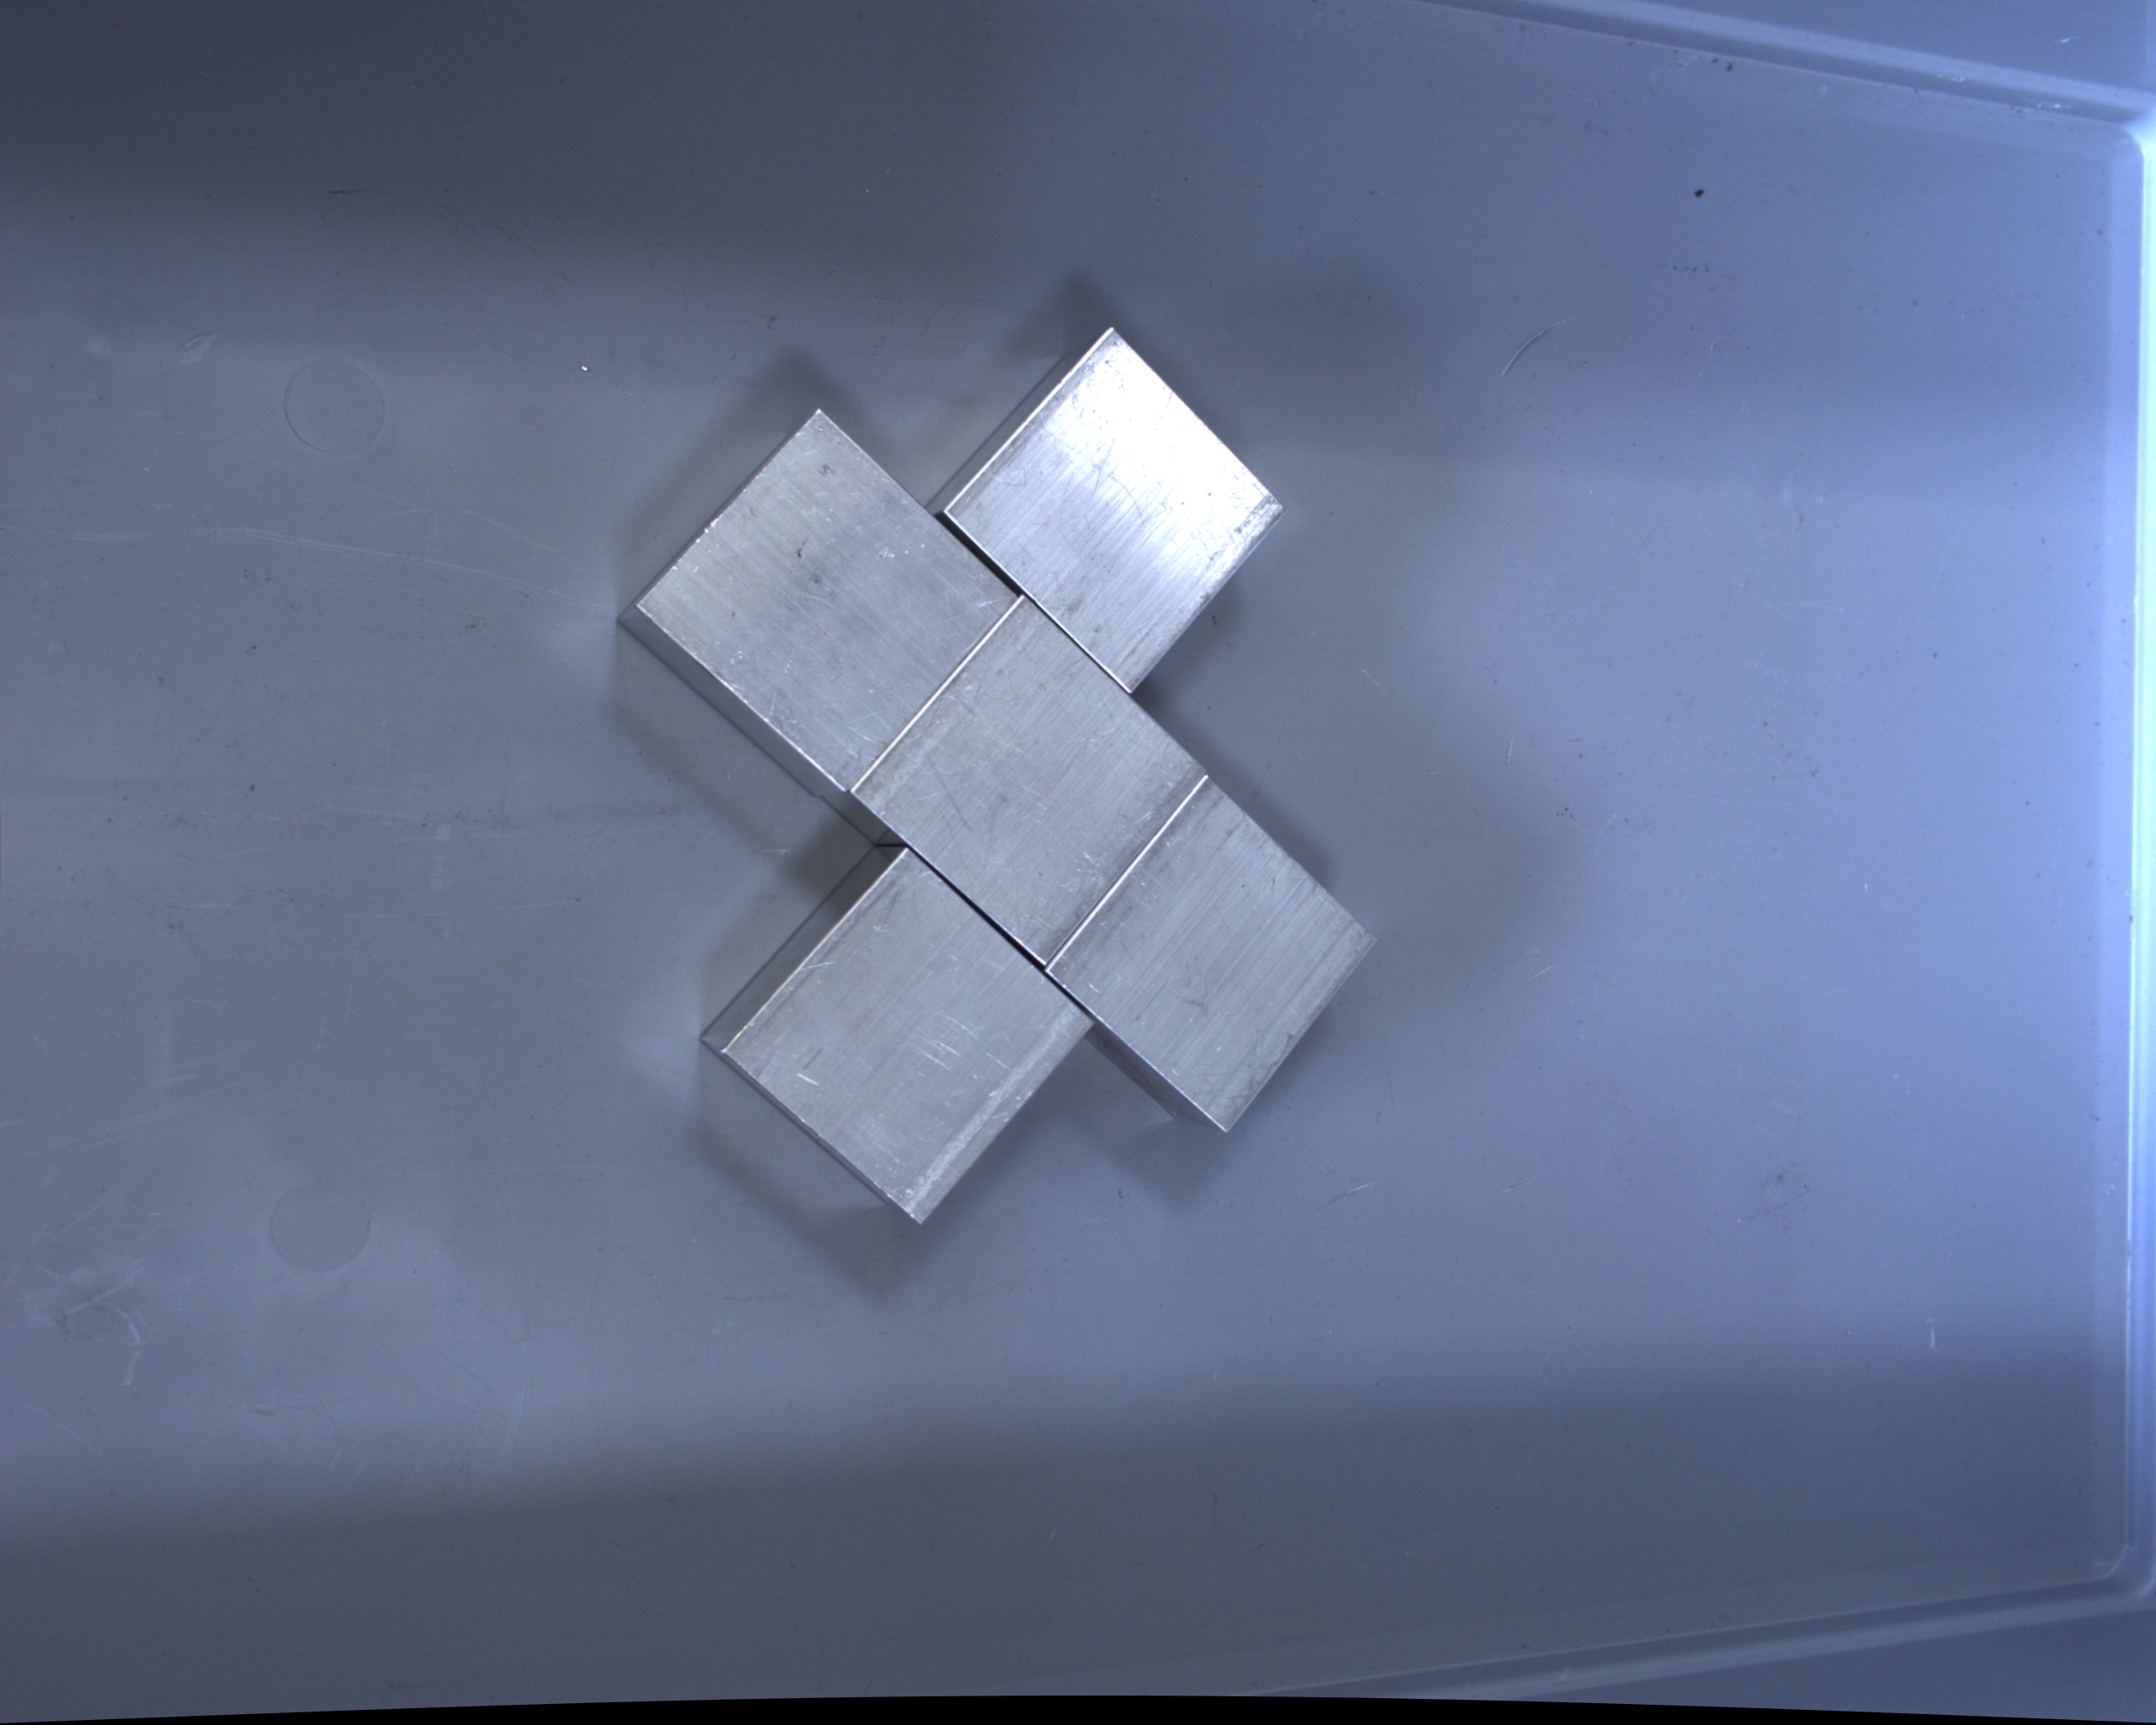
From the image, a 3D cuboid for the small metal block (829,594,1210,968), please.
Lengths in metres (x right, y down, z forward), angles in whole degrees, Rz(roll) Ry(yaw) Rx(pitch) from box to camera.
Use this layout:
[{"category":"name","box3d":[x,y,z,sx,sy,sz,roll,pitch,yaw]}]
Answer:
[{"category":"small metal block","box3d":[-0.012,-0.015,0.403,0.050,0.025,0.050,43,76,-15]}]

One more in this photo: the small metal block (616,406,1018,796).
[{"category":"small metal block","box3d":[-0.049,-0.048,0.390,0.050,0.025,0.050,43,76,-15]}]

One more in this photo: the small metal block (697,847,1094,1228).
[{"category":"small metal block","box3d":[-0.035,0.032,0.396,0.050,0.025,0.050,45,77,-15]}]

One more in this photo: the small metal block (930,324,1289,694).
[{"category":"small metal block","box3d":[0.004,-0.067,0.409,0.050,0.025,0.050,43,75,-15]}]

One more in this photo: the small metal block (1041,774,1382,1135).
[{"category":"small metal block","box3d":[0.023,0.018,0.416,0.050,0.025,0.050,43,76,-15]}]
